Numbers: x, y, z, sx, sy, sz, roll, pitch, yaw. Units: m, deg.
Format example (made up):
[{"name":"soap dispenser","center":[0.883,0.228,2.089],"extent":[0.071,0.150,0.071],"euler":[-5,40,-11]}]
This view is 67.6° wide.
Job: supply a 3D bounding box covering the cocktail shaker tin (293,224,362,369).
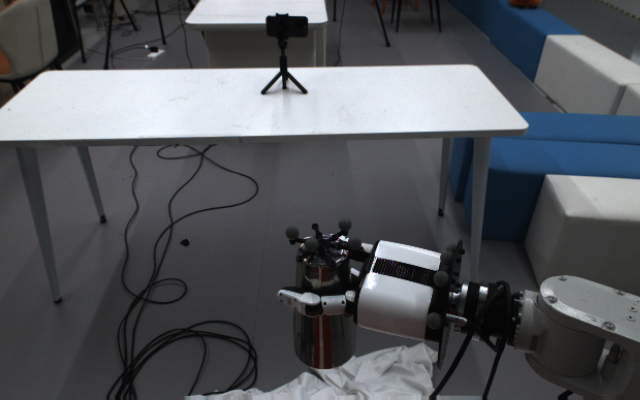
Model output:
[{"name":"cocktail shaker tin","center":[0.010,0.132,0.655],"extent":[0.093,0.170,0.093],"euler":[-1,32,1]}]
